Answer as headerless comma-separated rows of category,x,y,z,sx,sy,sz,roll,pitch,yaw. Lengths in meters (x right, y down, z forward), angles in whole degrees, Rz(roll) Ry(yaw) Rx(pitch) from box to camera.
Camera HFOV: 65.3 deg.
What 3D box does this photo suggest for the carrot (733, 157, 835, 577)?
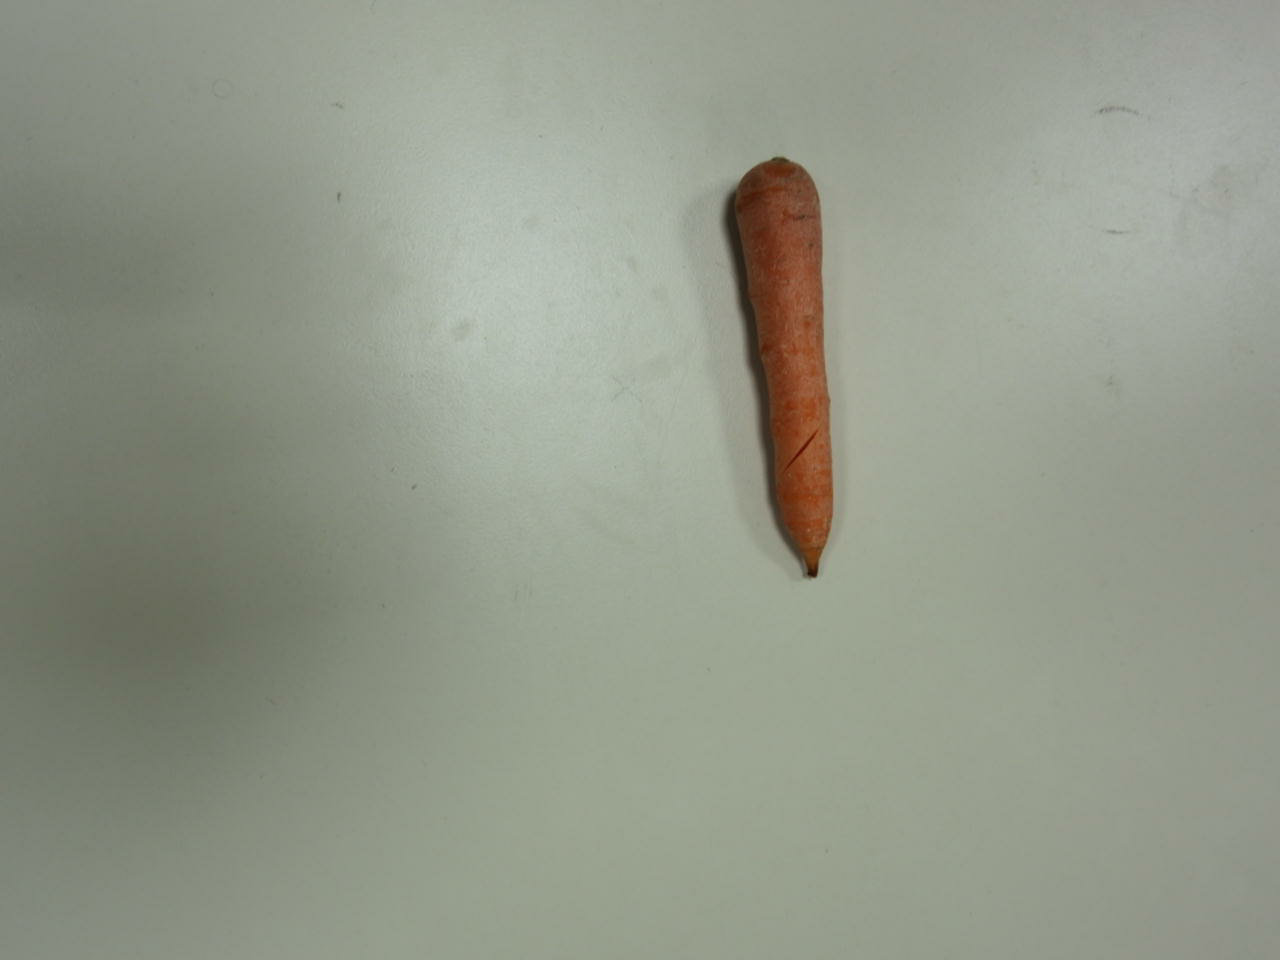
carrot,0.075,-0.049,0.465,0.039,0.041,0.196,-9,92,-12
